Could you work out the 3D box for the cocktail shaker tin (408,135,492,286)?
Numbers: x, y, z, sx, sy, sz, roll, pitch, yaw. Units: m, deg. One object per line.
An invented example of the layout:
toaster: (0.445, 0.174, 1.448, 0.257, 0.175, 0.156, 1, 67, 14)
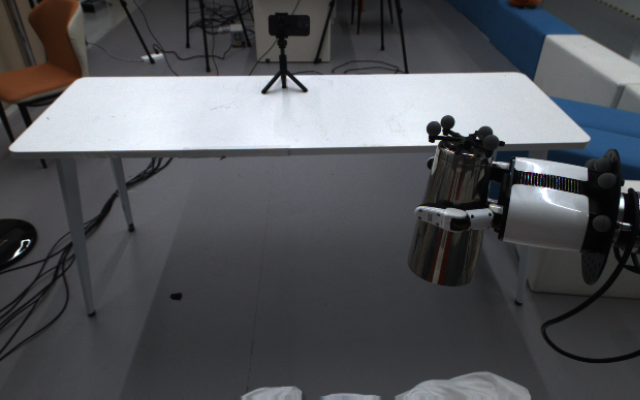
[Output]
cocktail shaker tin: (0.170, 0.012, 0.616, 0.093, 0.170, 0.093, 3, 26, -1)
